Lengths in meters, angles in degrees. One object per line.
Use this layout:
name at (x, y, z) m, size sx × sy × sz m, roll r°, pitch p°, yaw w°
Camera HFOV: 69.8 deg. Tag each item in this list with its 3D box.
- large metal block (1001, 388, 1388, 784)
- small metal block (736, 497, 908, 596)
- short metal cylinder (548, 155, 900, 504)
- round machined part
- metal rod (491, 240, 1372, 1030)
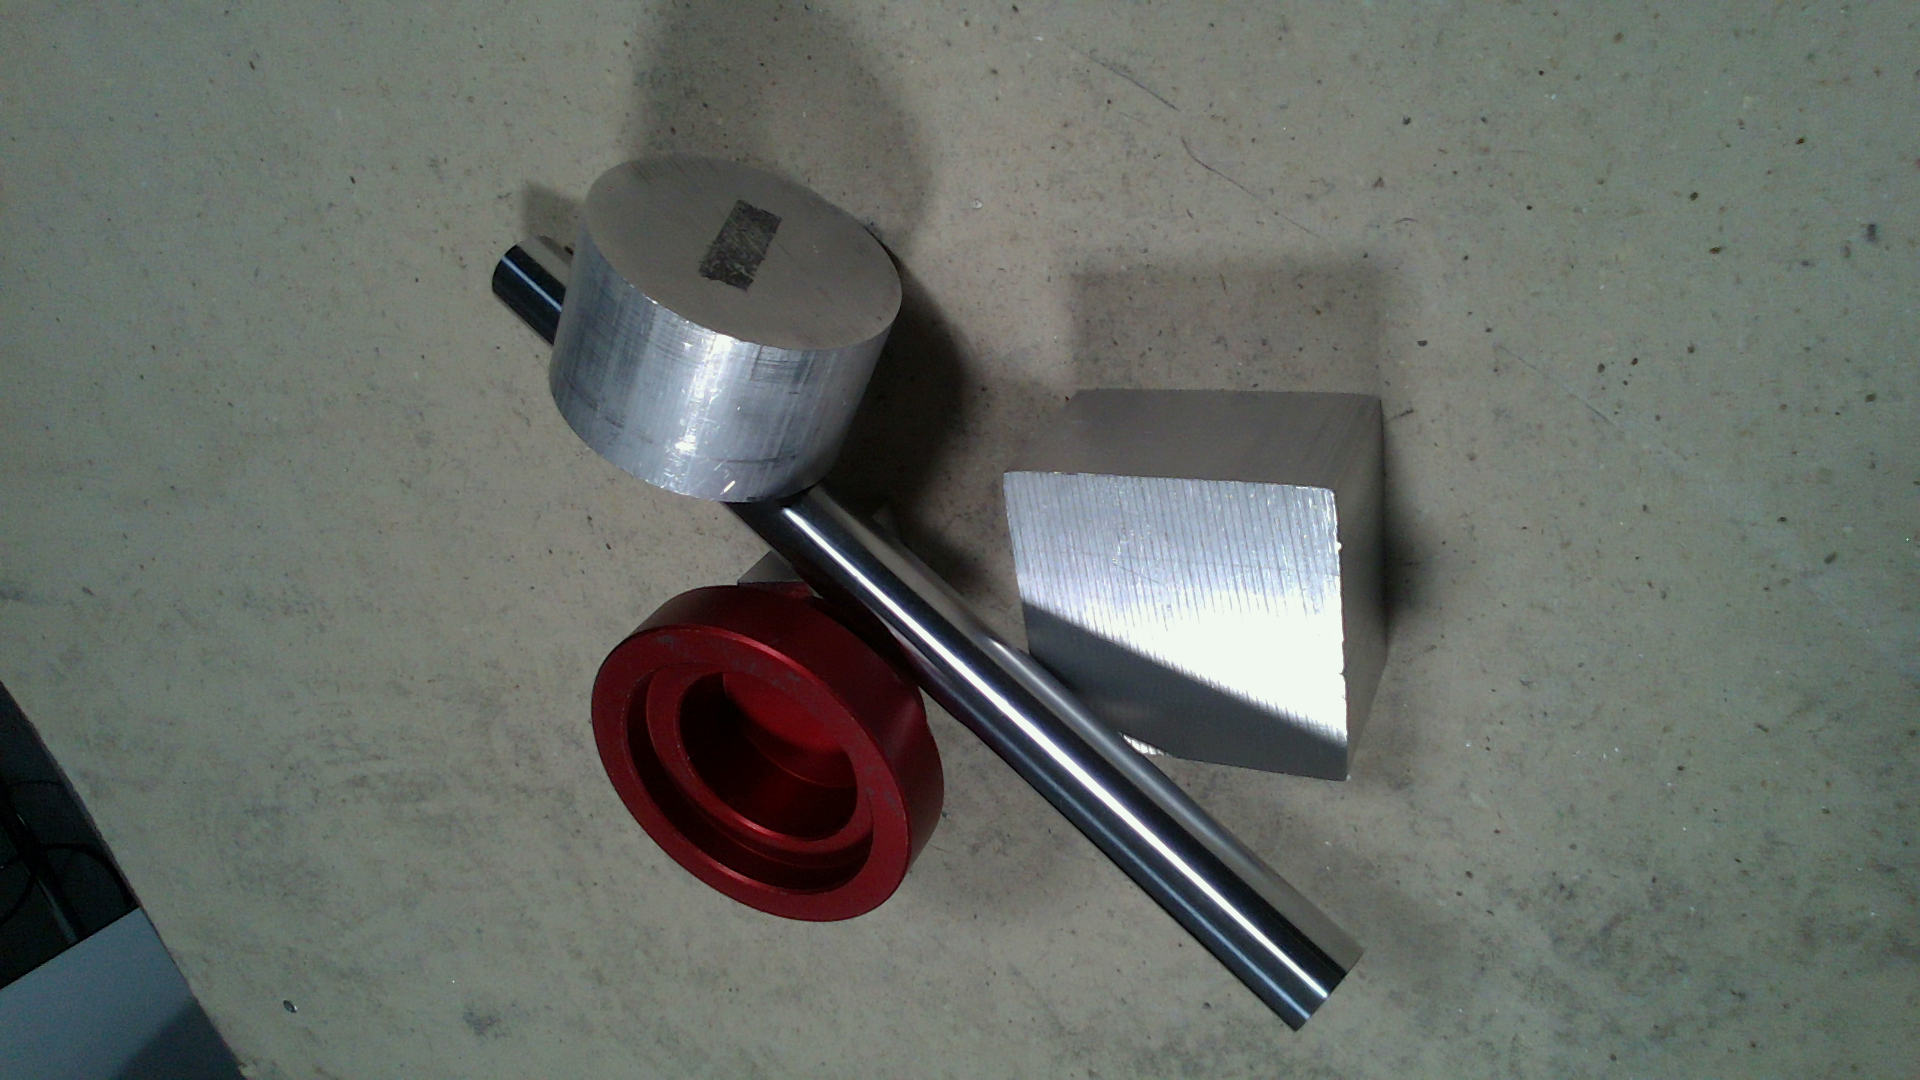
large metal block at (0.062, 0.009, 0.349) m, size 0.080 × 0.050 × 0.080 m, roll 4°, pitch 121°, yaw 26°
small metal block at (-0.035, 0.021, 0.410) m, size 0.025 × 0.050 × 0.050 m, roll -2°, pitch 118°, yaw 29°
short metal cylinder at (-0.061, -0.055, 0.356) m, size 0.080 × 0.080 × 0.050 m, roll 33°, pitch 129°, yaw 7°
round machined part at (-0.048, 0.054, 0.377) m, size 0.098 × 0.042 × 0.098 m, roll 14°, pitch 126°, yaw 20°
metal rod at (-0.022, 0.011, 0.364) m, size 0.299 × 0.025 × 0.025 m, roll 40°, pitch 131°, yaw 19°
